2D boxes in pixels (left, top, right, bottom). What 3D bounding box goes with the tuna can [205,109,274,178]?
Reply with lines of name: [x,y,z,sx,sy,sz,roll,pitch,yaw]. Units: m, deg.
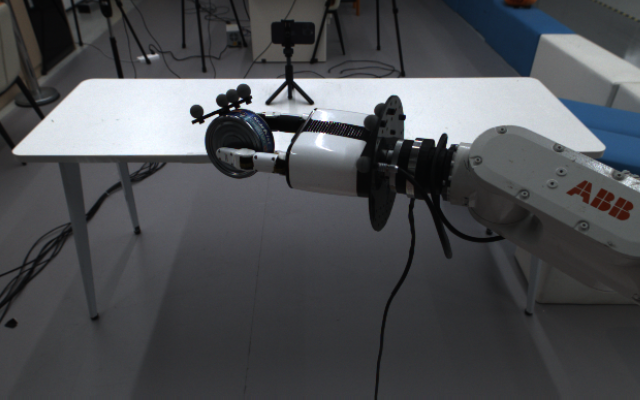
tuna can: [-0.100,-0.066,0.619,0.085,0.085,0.034,15,30,17]
